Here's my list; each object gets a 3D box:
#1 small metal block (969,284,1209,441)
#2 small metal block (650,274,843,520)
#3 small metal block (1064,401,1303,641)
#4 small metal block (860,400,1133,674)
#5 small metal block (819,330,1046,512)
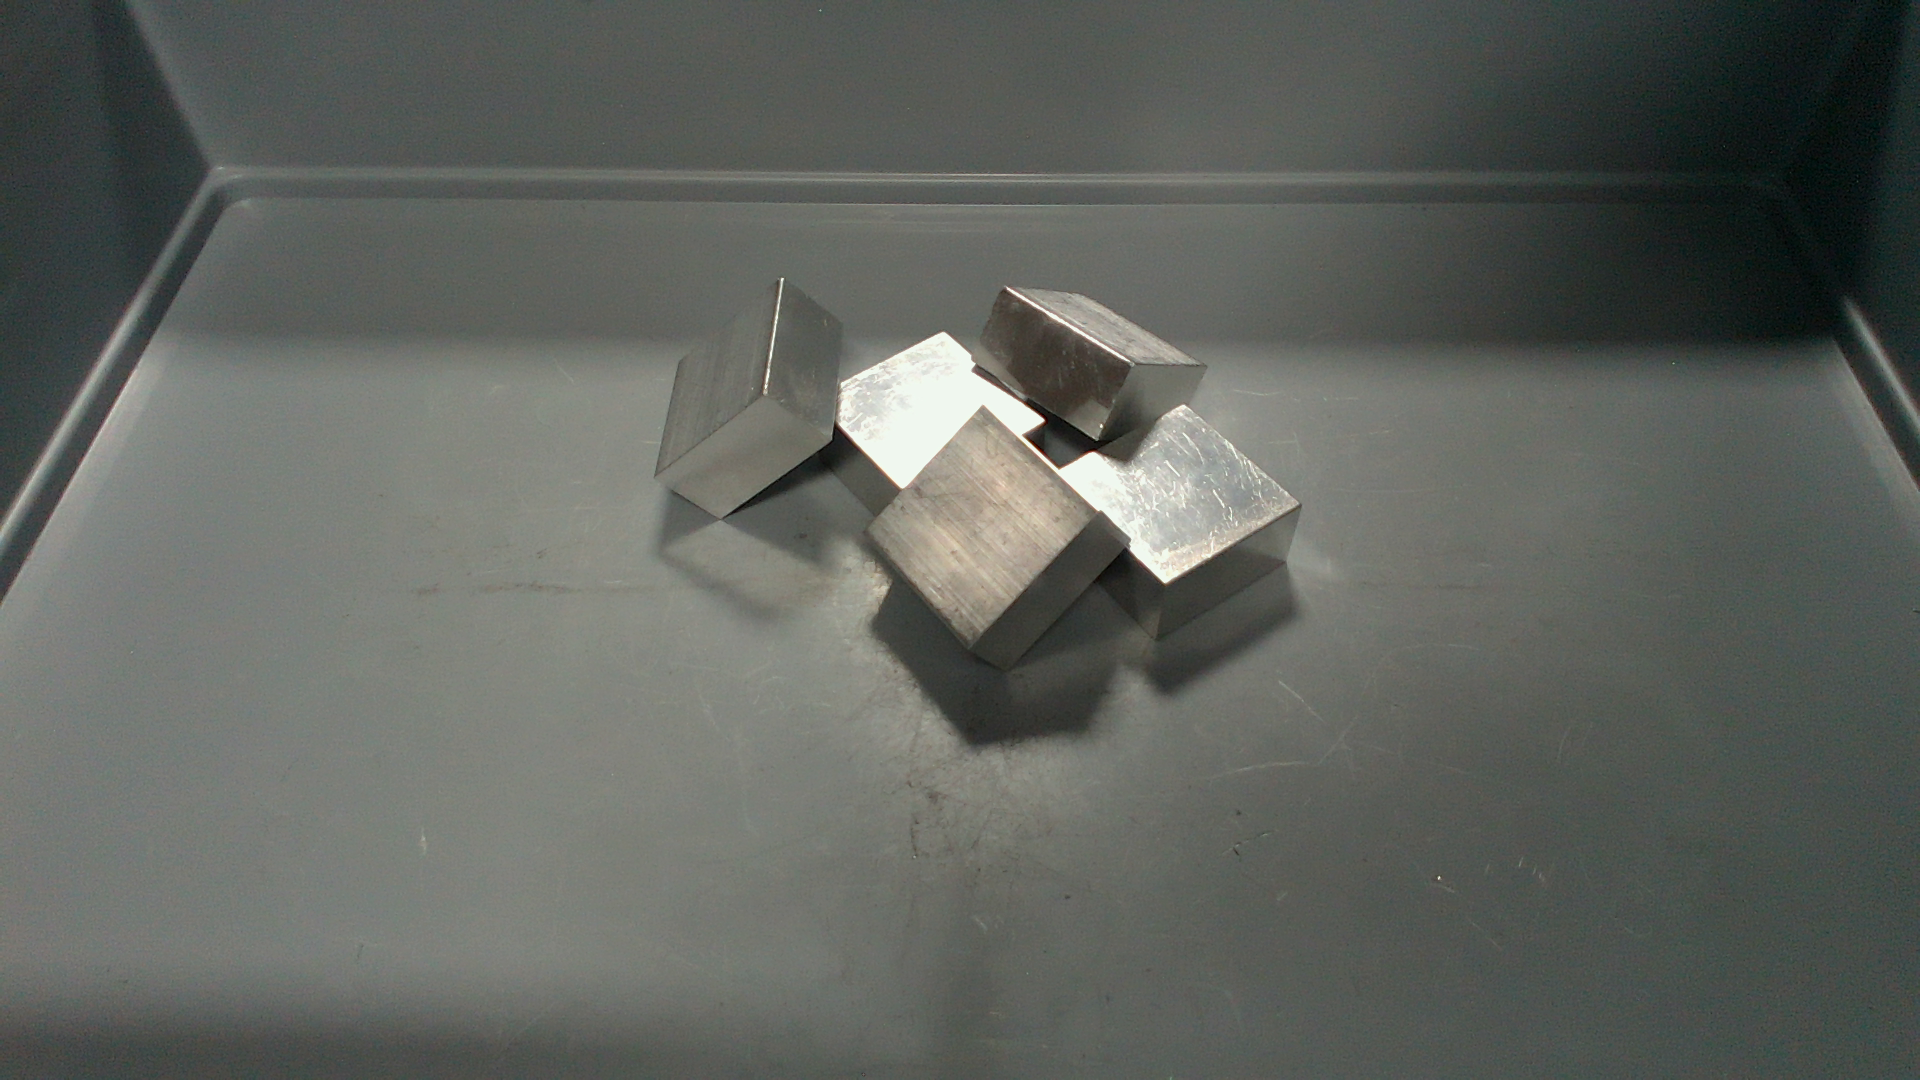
[{"bbox_3d":[0.040,-0.054,0.421,0.050,0.025,0.050,36,24,26],"label":"small metal block"},{"bbox_3d":[-0.063,-0.042,0.408,0.050,0.025,0.050,-32,40,32],"label":"small metal block"},{"bbox_3d":[0.061,-0.007,0.395,0.050,0.025,0.050,-29,56,-22],"label":"small metal block"},{"bbox_3d":[0.010,-0.001,0.376,0.050,0.025,0.050,-47,58,4],"label":"small metal block"},{"bbox_3d":[-0.010,-0.031,0.416,0.050,0.025,0.050,-31,56,-23],"label":"small metal block"}]
